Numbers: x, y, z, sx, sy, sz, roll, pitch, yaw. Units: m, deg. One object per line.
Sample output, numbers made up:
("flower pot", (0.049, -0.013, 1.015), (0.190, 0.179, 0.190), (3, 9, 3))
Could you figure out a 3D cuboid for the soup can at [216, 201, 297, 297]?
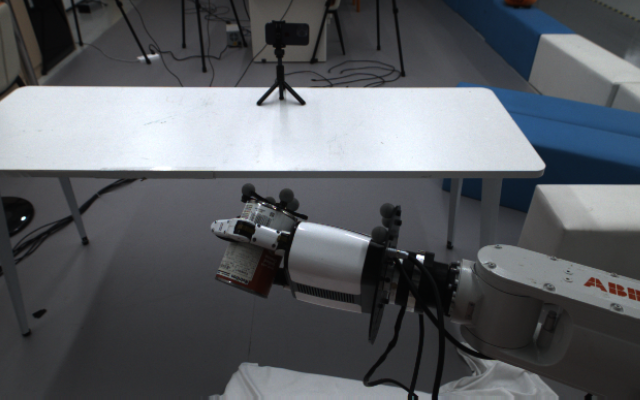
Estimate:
("soup can", (-0.076, 0.058, 0.581), (0.067, 0.067, 0.101), (16, 75, 19))
